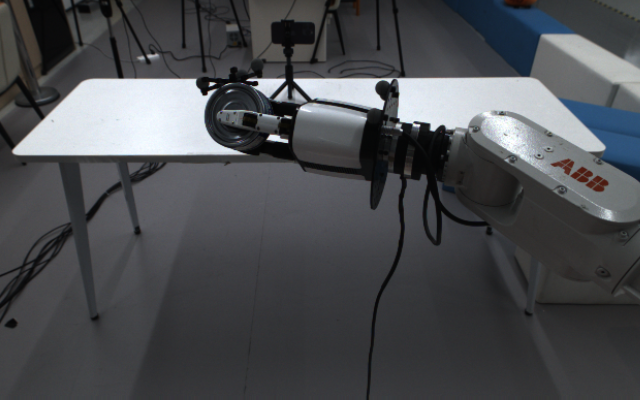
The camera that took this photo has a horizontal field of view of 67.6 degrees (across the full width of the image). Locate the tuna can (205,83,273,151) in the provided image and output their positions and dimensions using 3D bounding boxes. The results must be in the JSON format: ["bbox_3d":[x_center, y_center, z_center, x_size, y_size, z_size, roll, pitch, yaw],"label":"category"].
[{"bbox_3d":[-0.102,-0.102,0.626,0.085,0.085,0.034,12,3,14],"label":"tuna can"}]
